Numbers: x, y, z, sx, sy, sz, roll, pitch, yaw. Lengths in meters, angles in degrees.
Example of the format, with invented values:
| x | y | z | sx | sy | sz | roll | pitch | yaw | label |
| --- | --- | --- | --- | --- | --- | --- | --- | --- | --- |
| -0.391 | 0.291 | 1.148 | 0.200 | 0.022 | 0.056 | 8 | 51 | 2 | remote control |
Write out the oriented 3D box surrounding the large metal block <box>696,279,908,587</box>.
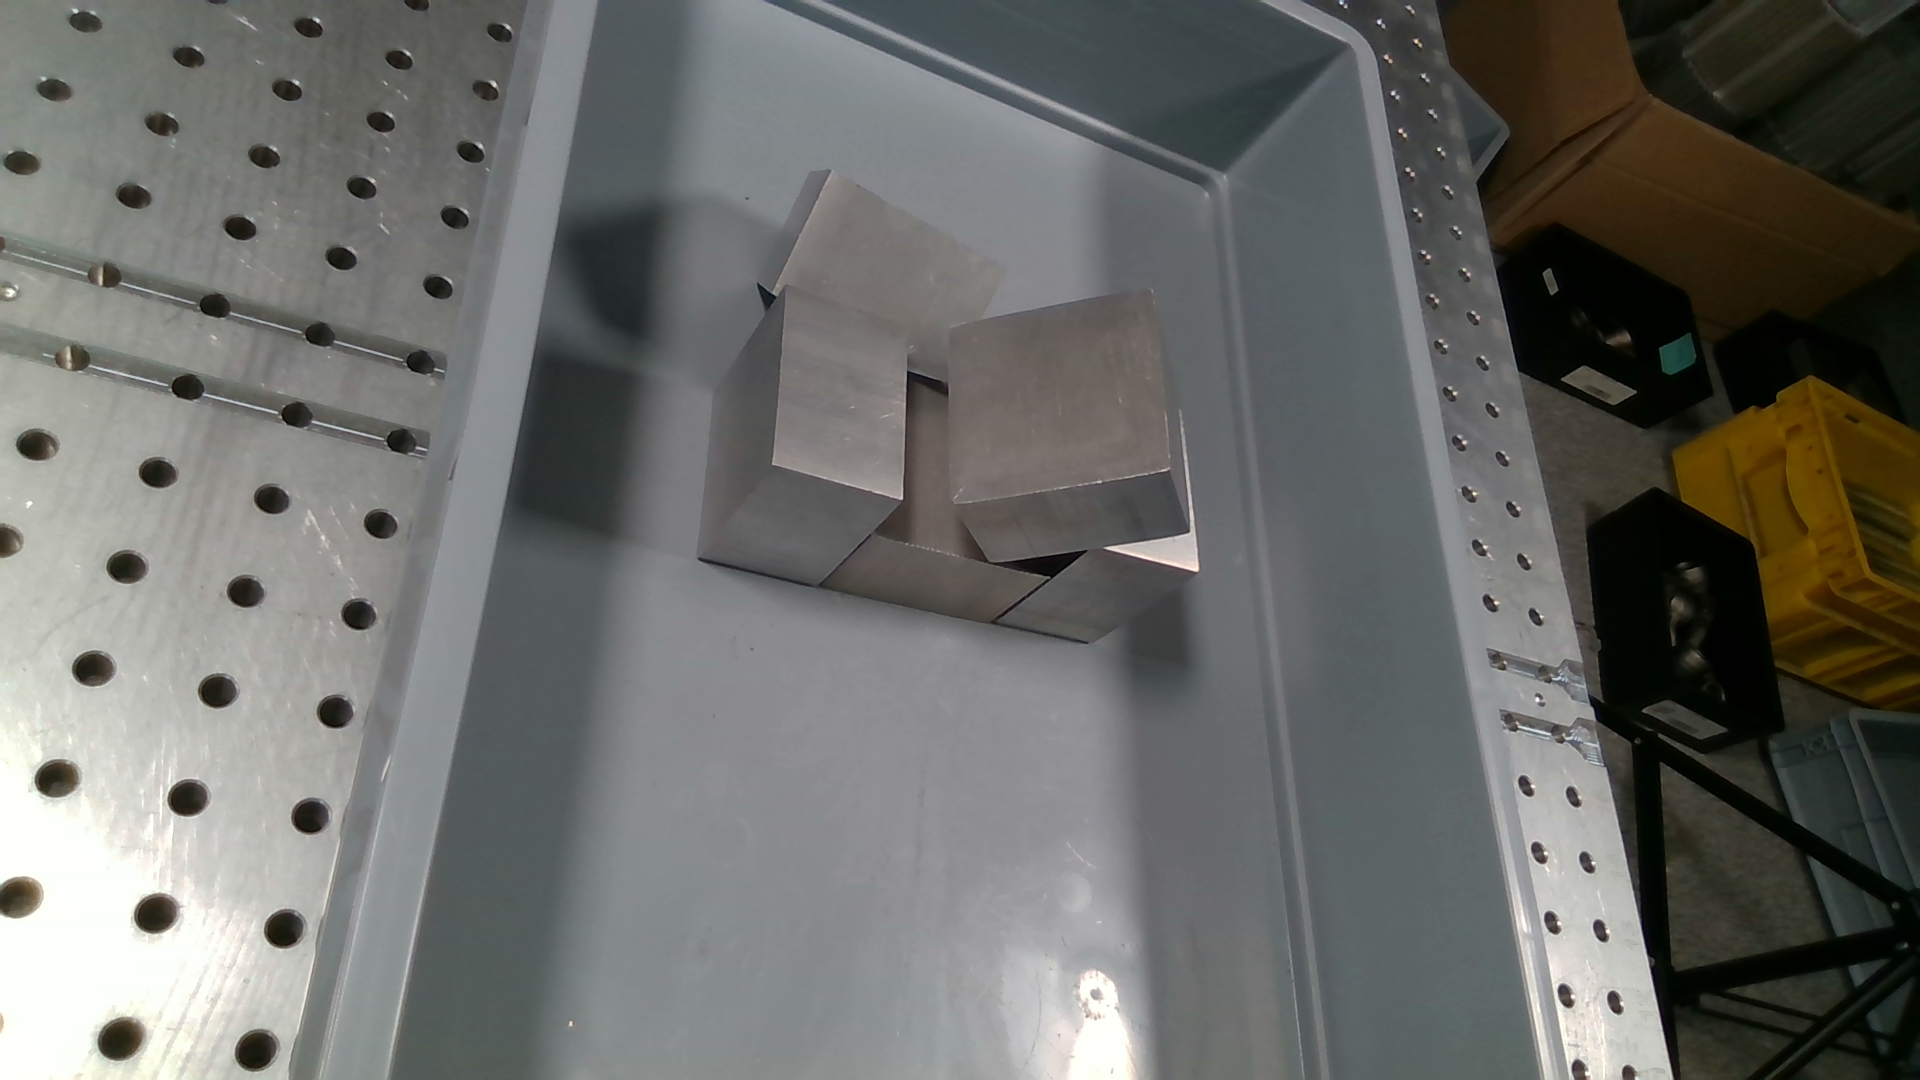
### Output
| x | y | z | sx | sy | sz | roll | pitch | yaw | label |
| --- | --- | --- | --- | --- | --- | --- | --- | --- | --- |
| -0.061 | -0.039 | 0.531 | 0.050 | 0.080 | 0.080 | 15 | 58 | -25 | large metal block |

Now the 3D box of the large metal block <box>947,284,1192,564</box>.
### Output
| x | y | z | sx | sy | sz | roll | pitch | yaw | label |
| --- | --- | --- | --- | --- | --- | --- | --- | --- | --- |
| 0.041 | -0.043 | 0.525 | 0.050 | 0.080 | 0.080 | 57 | 28 | -58 | large metal block |

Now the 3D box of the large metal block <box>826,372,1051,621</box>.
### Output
| x | y | z | sx | sy | sz | roll | pitch | yaw | label |
| --- | --- | --- | --- | --- | --- | --- | --- | --- | --- |
| -0.011 | -0.018 | 0.574 | 0.080 | 0.050 | 0.080 | 14 | 59 | -25 | large metal block |

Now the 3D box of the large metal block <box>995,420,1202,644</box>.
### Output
| x | y | z | sx | sy | sz | roll | pitch | yaw | label |
| --- | --- | --- | --- | --- | --- | --- | --- | --- | --- |
| 0.055 | -0.011 | 0.588 | 0.050 | 0.080 | 0.080 | 13 | 59 | -25 | large metal block |

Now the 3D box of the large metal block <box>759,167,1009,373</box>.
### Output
| x | y | z | sx | sy | sz | roll | pitch | yaw | label |
| --- | --- | --- | --- | --- | --- | --- | --- | --- | --- |
| -0.035 | -0.114 | 0.578 | 0.080 | 0.080 | 0.050 | 25 | 97 | -18 | large metal block |
